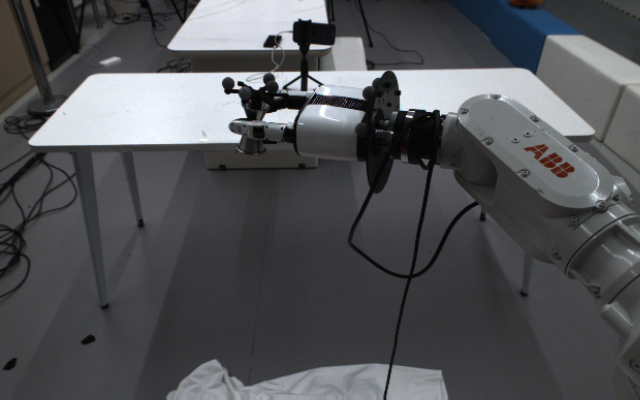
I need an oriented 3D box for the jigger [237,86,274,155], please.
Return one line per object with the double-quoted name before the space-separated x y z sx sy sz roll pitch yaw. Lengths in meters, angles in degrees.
"jigger" -0.095 -0.104 0.694 0.043 0.071 0.043 9 30 -5
